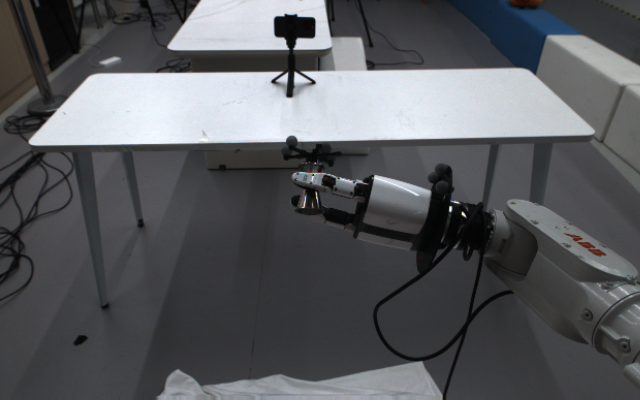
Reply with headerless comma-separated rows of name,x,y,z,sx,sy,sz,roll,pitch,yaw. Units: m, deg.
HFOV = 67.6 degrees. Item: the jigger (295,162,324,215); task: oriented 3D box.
jigger,-0.015,-0.017,0.697,0.043,0.043,0.071,3,76,1
